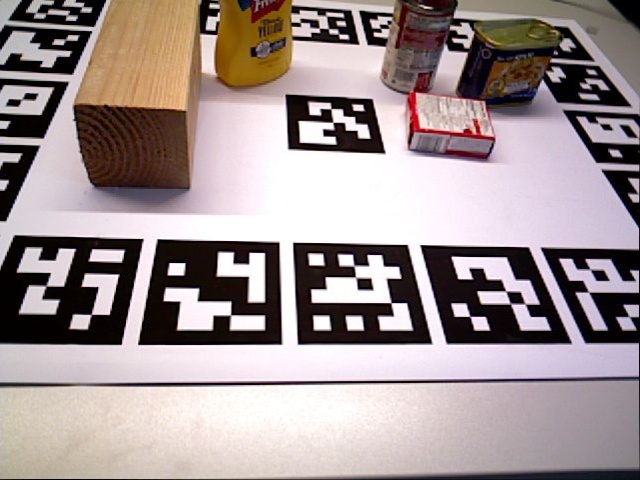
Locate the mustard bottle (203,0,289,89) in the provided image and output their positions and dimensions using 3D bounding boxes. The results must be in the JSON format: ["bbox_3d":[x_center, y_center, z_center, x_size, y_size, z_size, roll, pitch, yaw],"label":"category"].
[{"bbox_3d":[-0.074,-0.257,0.564,0.094,0.196,0.058,-18,53,-25],"label":"mustard bottle"}]

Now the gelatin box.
[{"bbox_3d":[0.138,-0.122,0.572,0.089,0.031,0.072,7,50,2],"label":"gelatin box"}]

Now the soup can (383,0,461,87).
[{"bbox_3d":[0.113,-0.236,0.615,0.067,0.104,0.067,4,49,-5],"label":"soup can"}]

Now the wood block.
[{"bbox_3d":[-0.168,-0.151,0.519,0.090,0.092,0.203,3,44,-8],"label":"wood block"}]

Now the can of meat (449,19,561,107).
[{"bbox_3d":[0.209,-0.204,0.626,0.100,0.086,0.057,-8,51,-18],"label":"can of meat"}]
